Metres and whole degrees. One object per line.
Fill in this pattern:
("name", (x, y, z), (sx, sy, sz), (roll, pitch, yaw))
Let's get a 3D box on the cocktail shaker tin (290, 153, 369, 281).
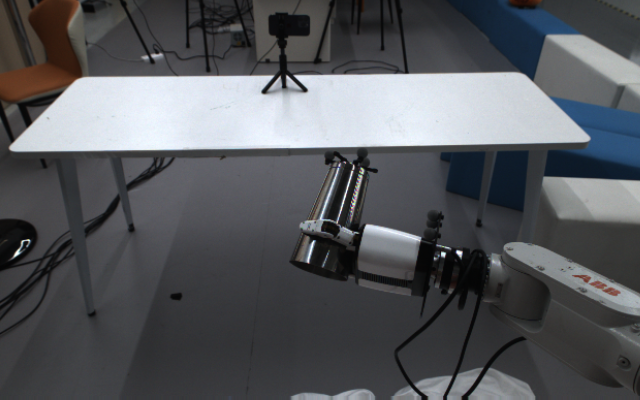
("cocktail shaker tin", (0.021, 0.030, 0.750), (0.093, 0.093, 0.170), (14, 73, 16))
